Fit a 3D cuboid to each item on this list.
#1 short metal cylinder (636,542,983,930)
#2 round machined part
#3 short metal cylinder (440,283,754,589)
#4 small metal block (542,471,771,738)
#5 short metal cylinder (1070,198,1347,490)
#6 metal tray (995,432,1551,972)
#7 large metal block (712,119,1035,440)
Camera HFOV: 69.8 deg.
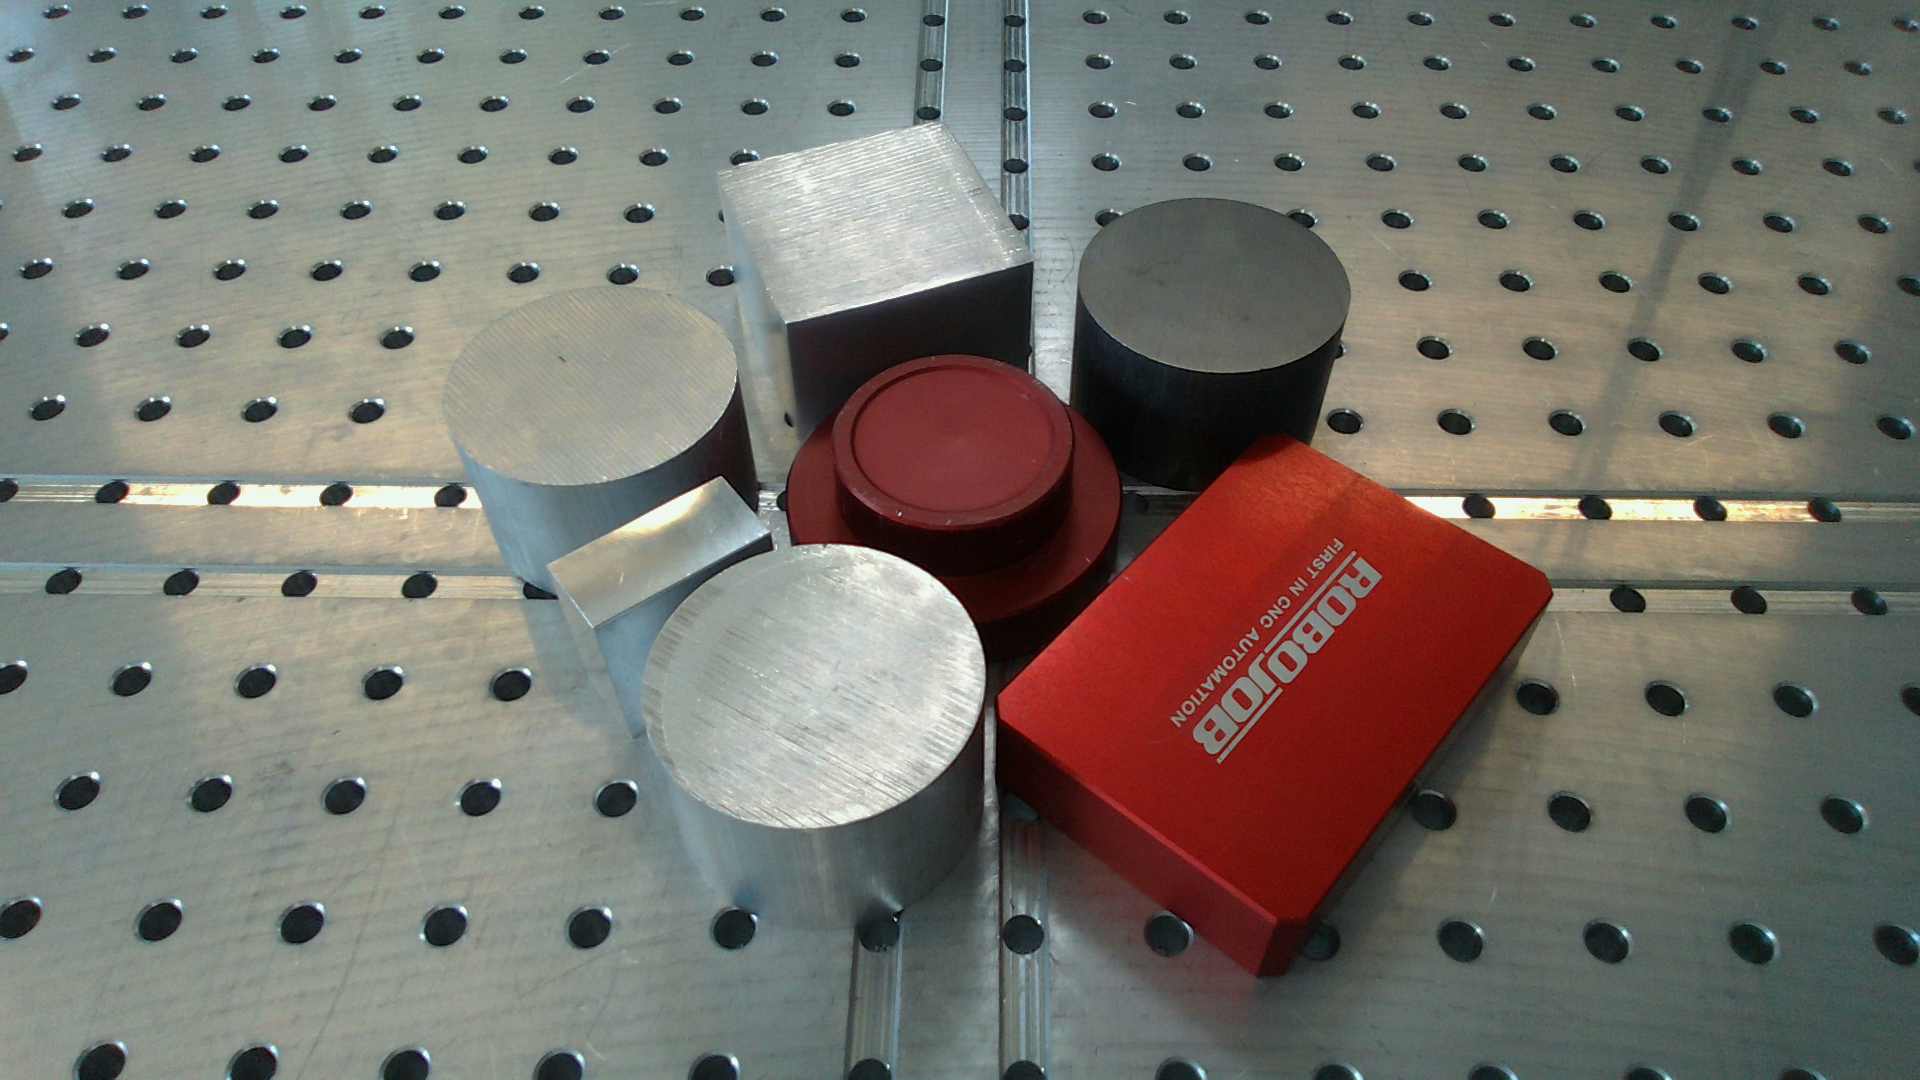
[{"bbox_3d":[-0.034,0.047,0.338,0.080,0.050,0.080,0,50,0],"label":"short metal cylinder"},{"bbox_3d":[-0.002,-0.016,0.396,0.098,0.042,0.098,0,50,0],"label":"round machined part"},{"bbox_3d":[-0.103,-0.030,0.402,0.080,0.050,0.080,0,50,0],"label":"short metal cylinder"},{"bbox_3d":[-0.076,0.017,0.362,0.050,0.050,0.025,-30,56,-23],"label":"small metal block"},{"bbox_3d":[0.075,-0.062,0.430,0.080,0.050,0.080,0,50,0],"label":"short metal cylinder"},{"bbox_3d":[0.082,0.035,0.361,0.090,0.030,0.130,33,57,25],"label":"metal tray"},{"bbox_3d":[-0.029,-0.087,0.452,0.080,0.050,0.080,-17,52,-14],"label":"large metal block"}]
